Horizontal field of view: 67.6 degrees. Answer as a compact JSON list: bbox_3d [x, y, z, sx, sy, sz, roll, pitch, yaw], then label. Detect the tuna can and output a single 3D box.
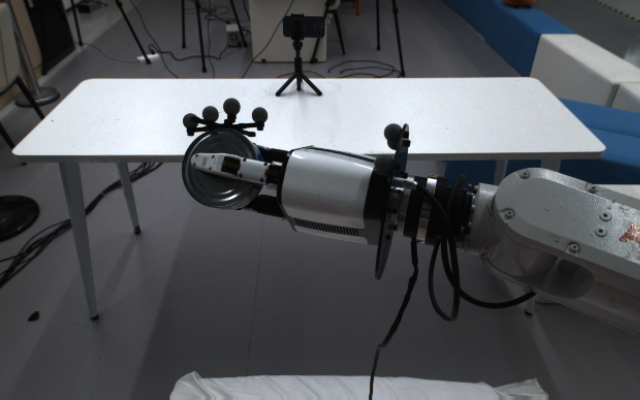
[{"bbox_3d":[-0.100,-0.028,0.524,0.085,0.085,0.034,9,-6,11],"label":"tuna can"}]
